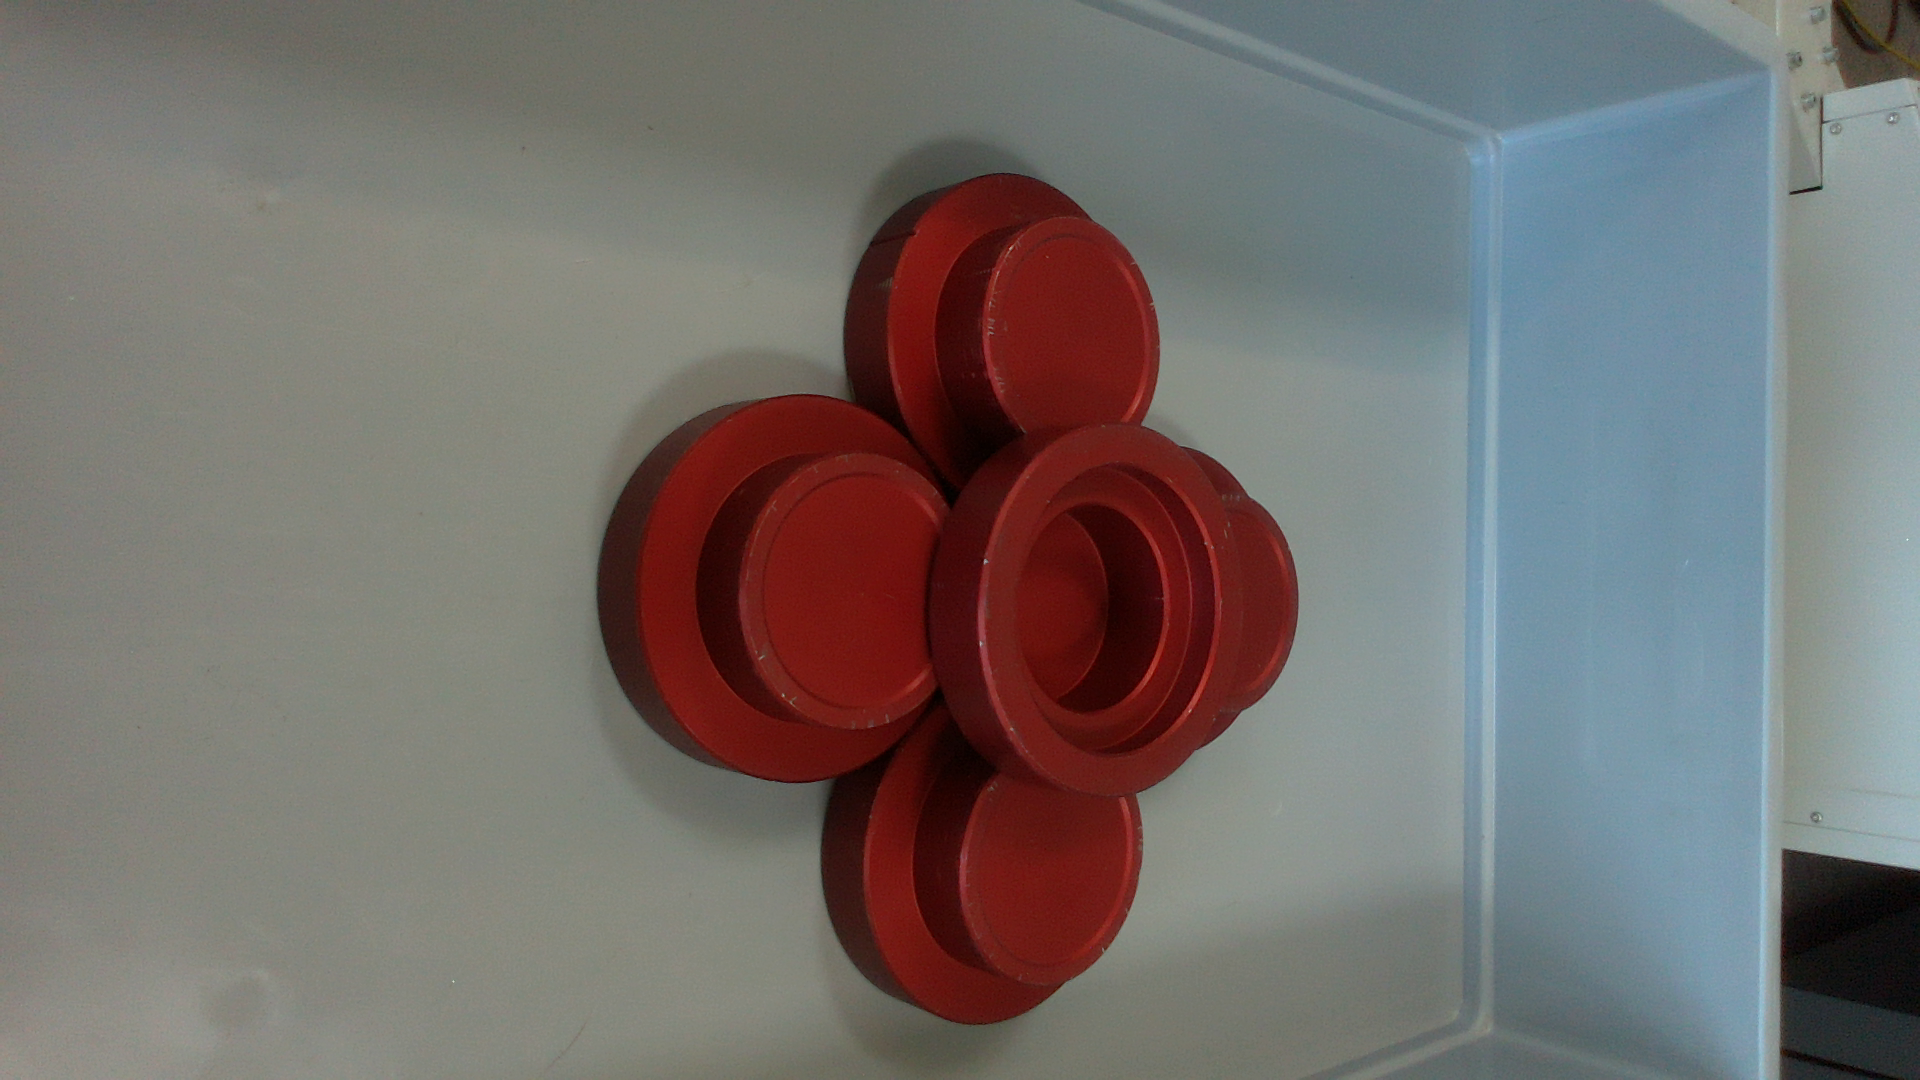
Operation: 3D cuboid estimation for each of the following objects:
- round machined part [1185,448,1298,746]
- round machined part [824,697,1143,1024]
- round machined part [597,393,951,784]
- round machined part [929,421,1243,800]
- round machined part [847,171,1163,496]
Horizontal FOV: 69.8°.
[{"bbox_3d":[0.069,0.019,0.433,0.098,0.042,0.098,0,90,-40],"label":"round machined part"},{"bbox_3d":[0.014,0.086,0.387,0.098,0.042,0.098,2,87,-41],"label":"round machined part"},{"bbox_3d":[-0.036,0.012,0.345,0.098,0.042,0.098,0,90,-40],"label":"round machined part"},{"bbox_3d":[0.029,0.018,0.373,0.098,0.042,0.098,0,90,-40],"label":"round machined part"},{"bbox_3d":[0.020,-0.055,0.391,0.098,0.042,0.098,0,90,-40],"label":"round machined part"}]
